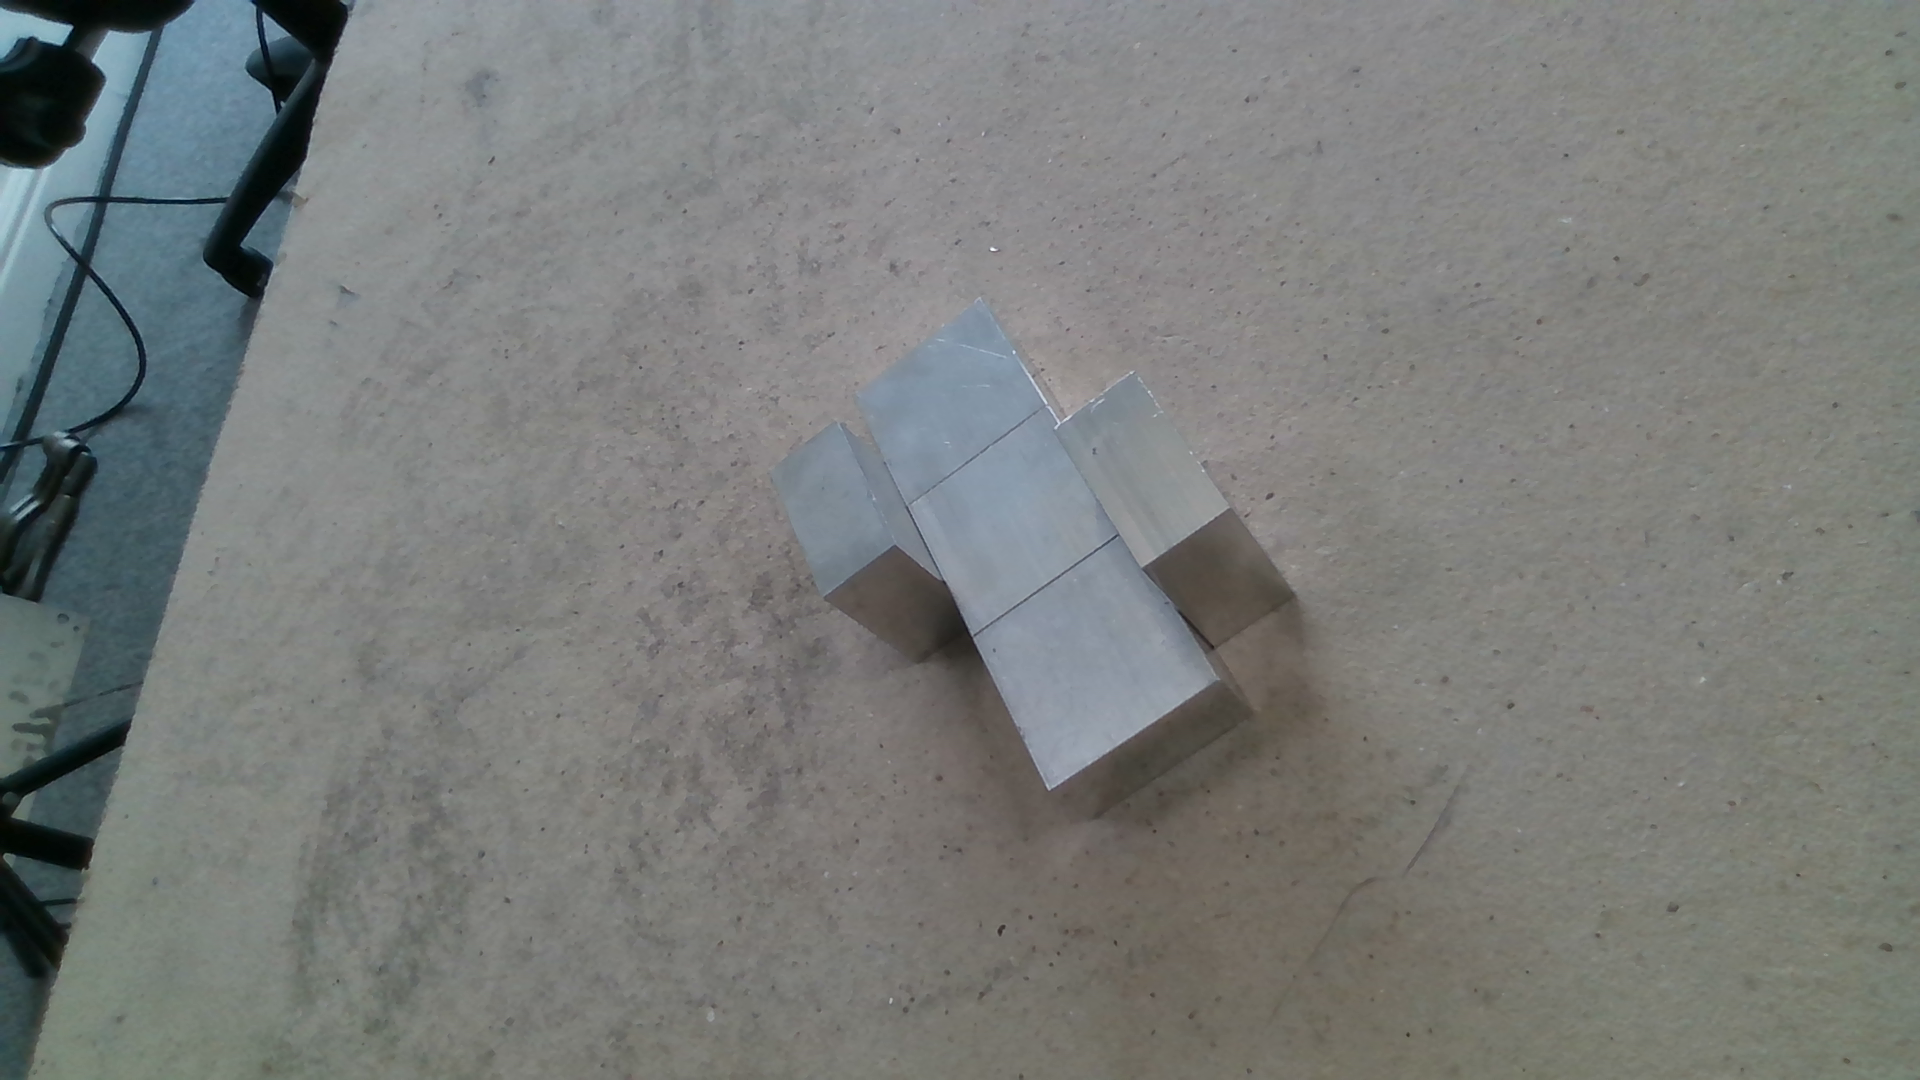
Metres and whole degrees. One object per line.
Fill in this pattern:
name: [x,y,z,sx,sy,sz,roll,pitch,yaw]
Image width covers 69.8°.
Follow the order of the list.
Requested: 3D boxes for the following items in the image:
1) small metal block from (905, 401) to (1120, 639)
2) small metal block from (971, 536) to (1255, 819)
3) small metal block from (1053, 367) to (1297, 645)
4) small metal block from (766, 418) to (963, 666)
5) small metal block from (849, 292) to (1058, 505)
small metal block: [0.020,-0.001,0.381,0.050,0.025,0.050,-36,52,11]
small metal block: [0.038,0.034,0.351,0.050,0.025,0.050,-36,52,11]
small metal block: [0.054,-0.008,0.348,0.025,0.050,0.050,-35,51,11]
small metal block: [-0.024,0.001,0.391,0.025,0.050,0.050,-36,52,10]
small metal block: [0.001,-0.037,0.411,0.050,0.025,0.050,-36,52,11]
